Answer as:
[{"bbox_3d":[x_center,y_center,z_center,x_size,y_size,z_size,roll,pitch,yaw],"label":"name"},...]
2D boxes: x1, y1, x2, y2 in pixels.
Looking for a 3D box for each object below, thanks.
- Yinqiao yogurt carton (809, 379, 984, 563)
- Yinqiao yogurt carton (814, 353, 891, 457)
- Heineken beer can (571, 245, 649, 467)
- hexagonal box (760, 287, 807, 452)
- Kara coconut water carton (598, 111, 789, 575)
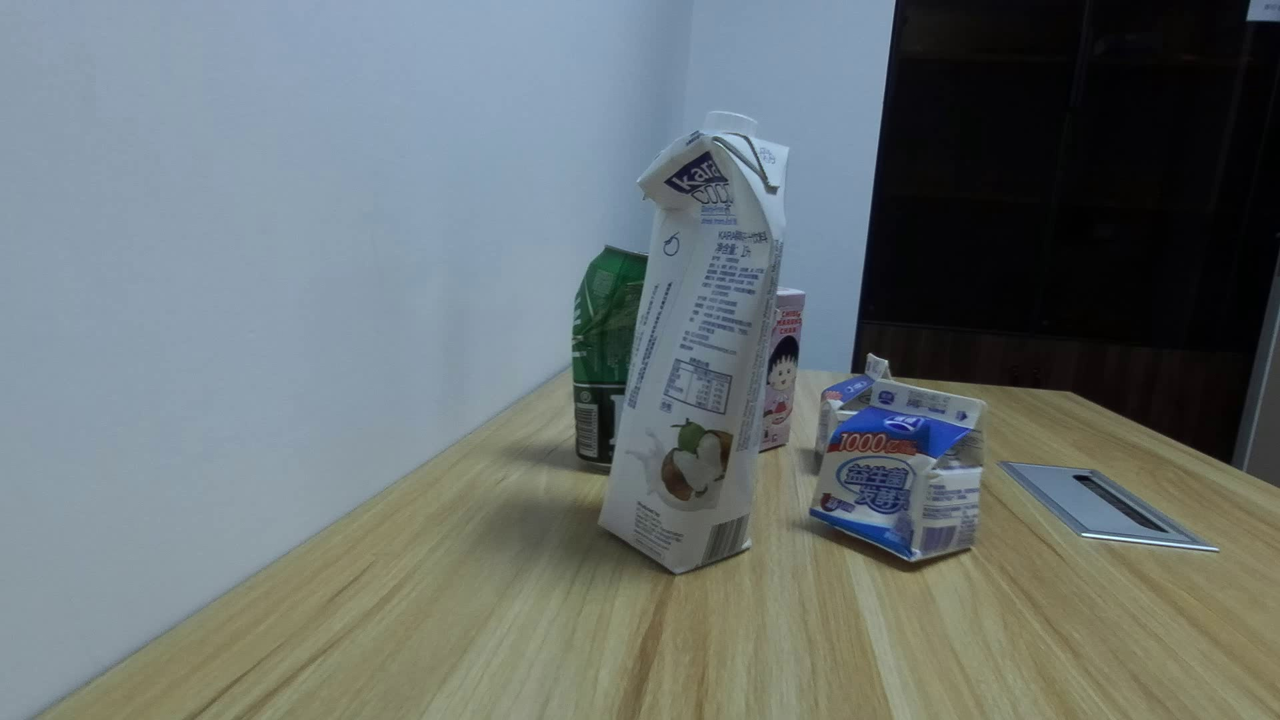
[{"bbox_3d":[0.160,0.063,0.424,0.071,0.094,0.077,3,10,-39],"label":"Yinqiao yogurt carton"},{"bbox_3d":[0.199,0.041,0.608,0.074,0.091,0.075,3,9,4],"label":"Yinqiao yogurt carton"},{"bbox_3d":[-0.012,-0.001,0.532,0.077,0.164,0.066,12,15,17],"label":"Heineken beer can"},{"bbox_3d":[0.095,0.004,0.620,0.083,0.136,0.091,12,12,41],"label":"hexagonal box"},{"bbox_3d":[0.032,-0.013,0.387,0.070,0.238,0.114,-2,12,-39],"label":"Kara coconut water carton"}]
